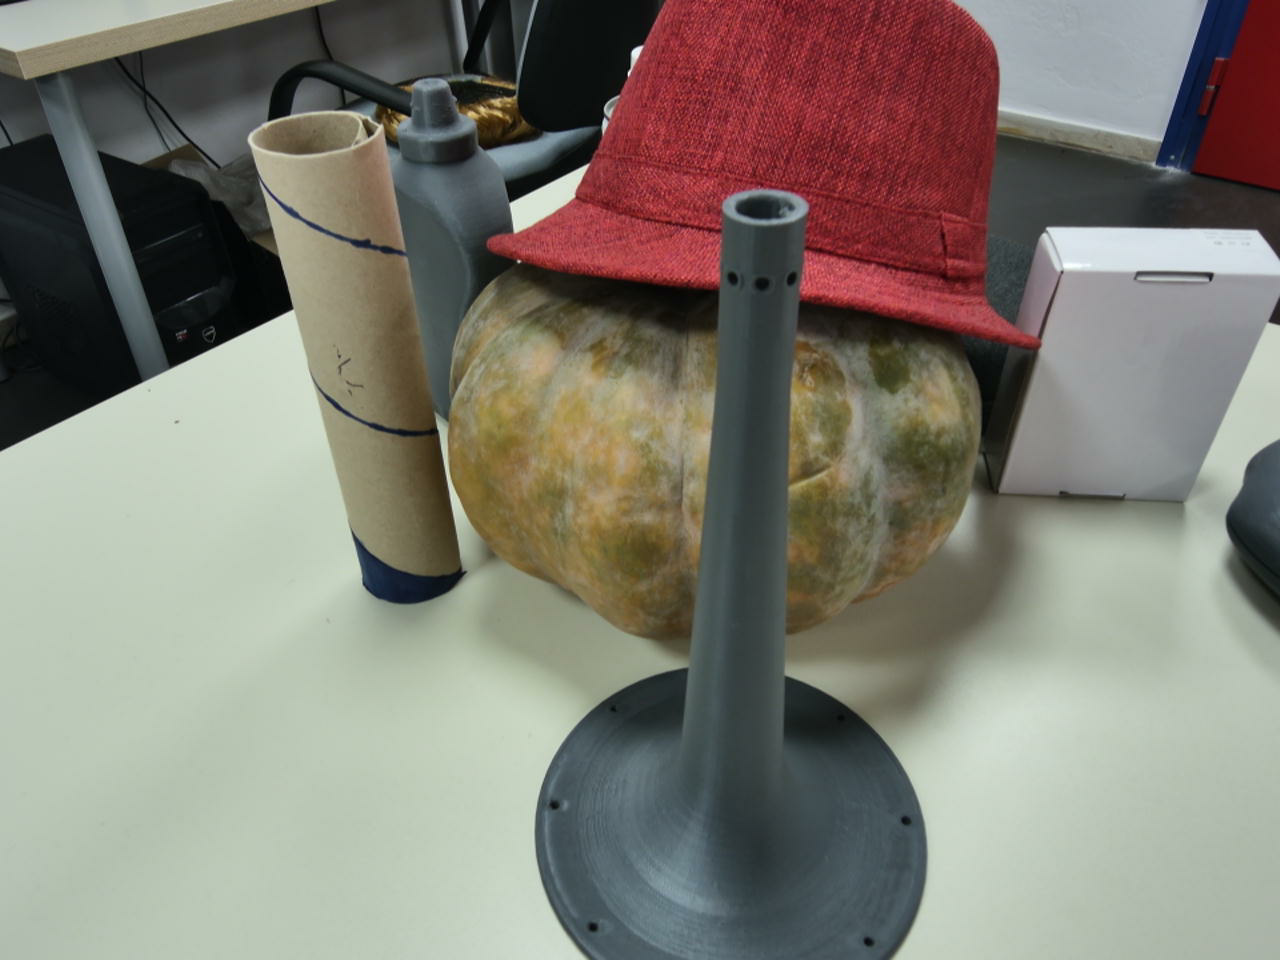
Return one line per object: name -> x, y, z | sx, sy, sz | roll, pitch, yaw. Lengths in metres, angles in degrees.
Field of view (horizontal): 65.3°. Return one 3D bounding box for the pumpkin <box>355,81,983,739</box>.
pumpkin -> 0.031, -0.036, 0.467 | 0.252, 0.169, 0.251 | 0, 37, 0
